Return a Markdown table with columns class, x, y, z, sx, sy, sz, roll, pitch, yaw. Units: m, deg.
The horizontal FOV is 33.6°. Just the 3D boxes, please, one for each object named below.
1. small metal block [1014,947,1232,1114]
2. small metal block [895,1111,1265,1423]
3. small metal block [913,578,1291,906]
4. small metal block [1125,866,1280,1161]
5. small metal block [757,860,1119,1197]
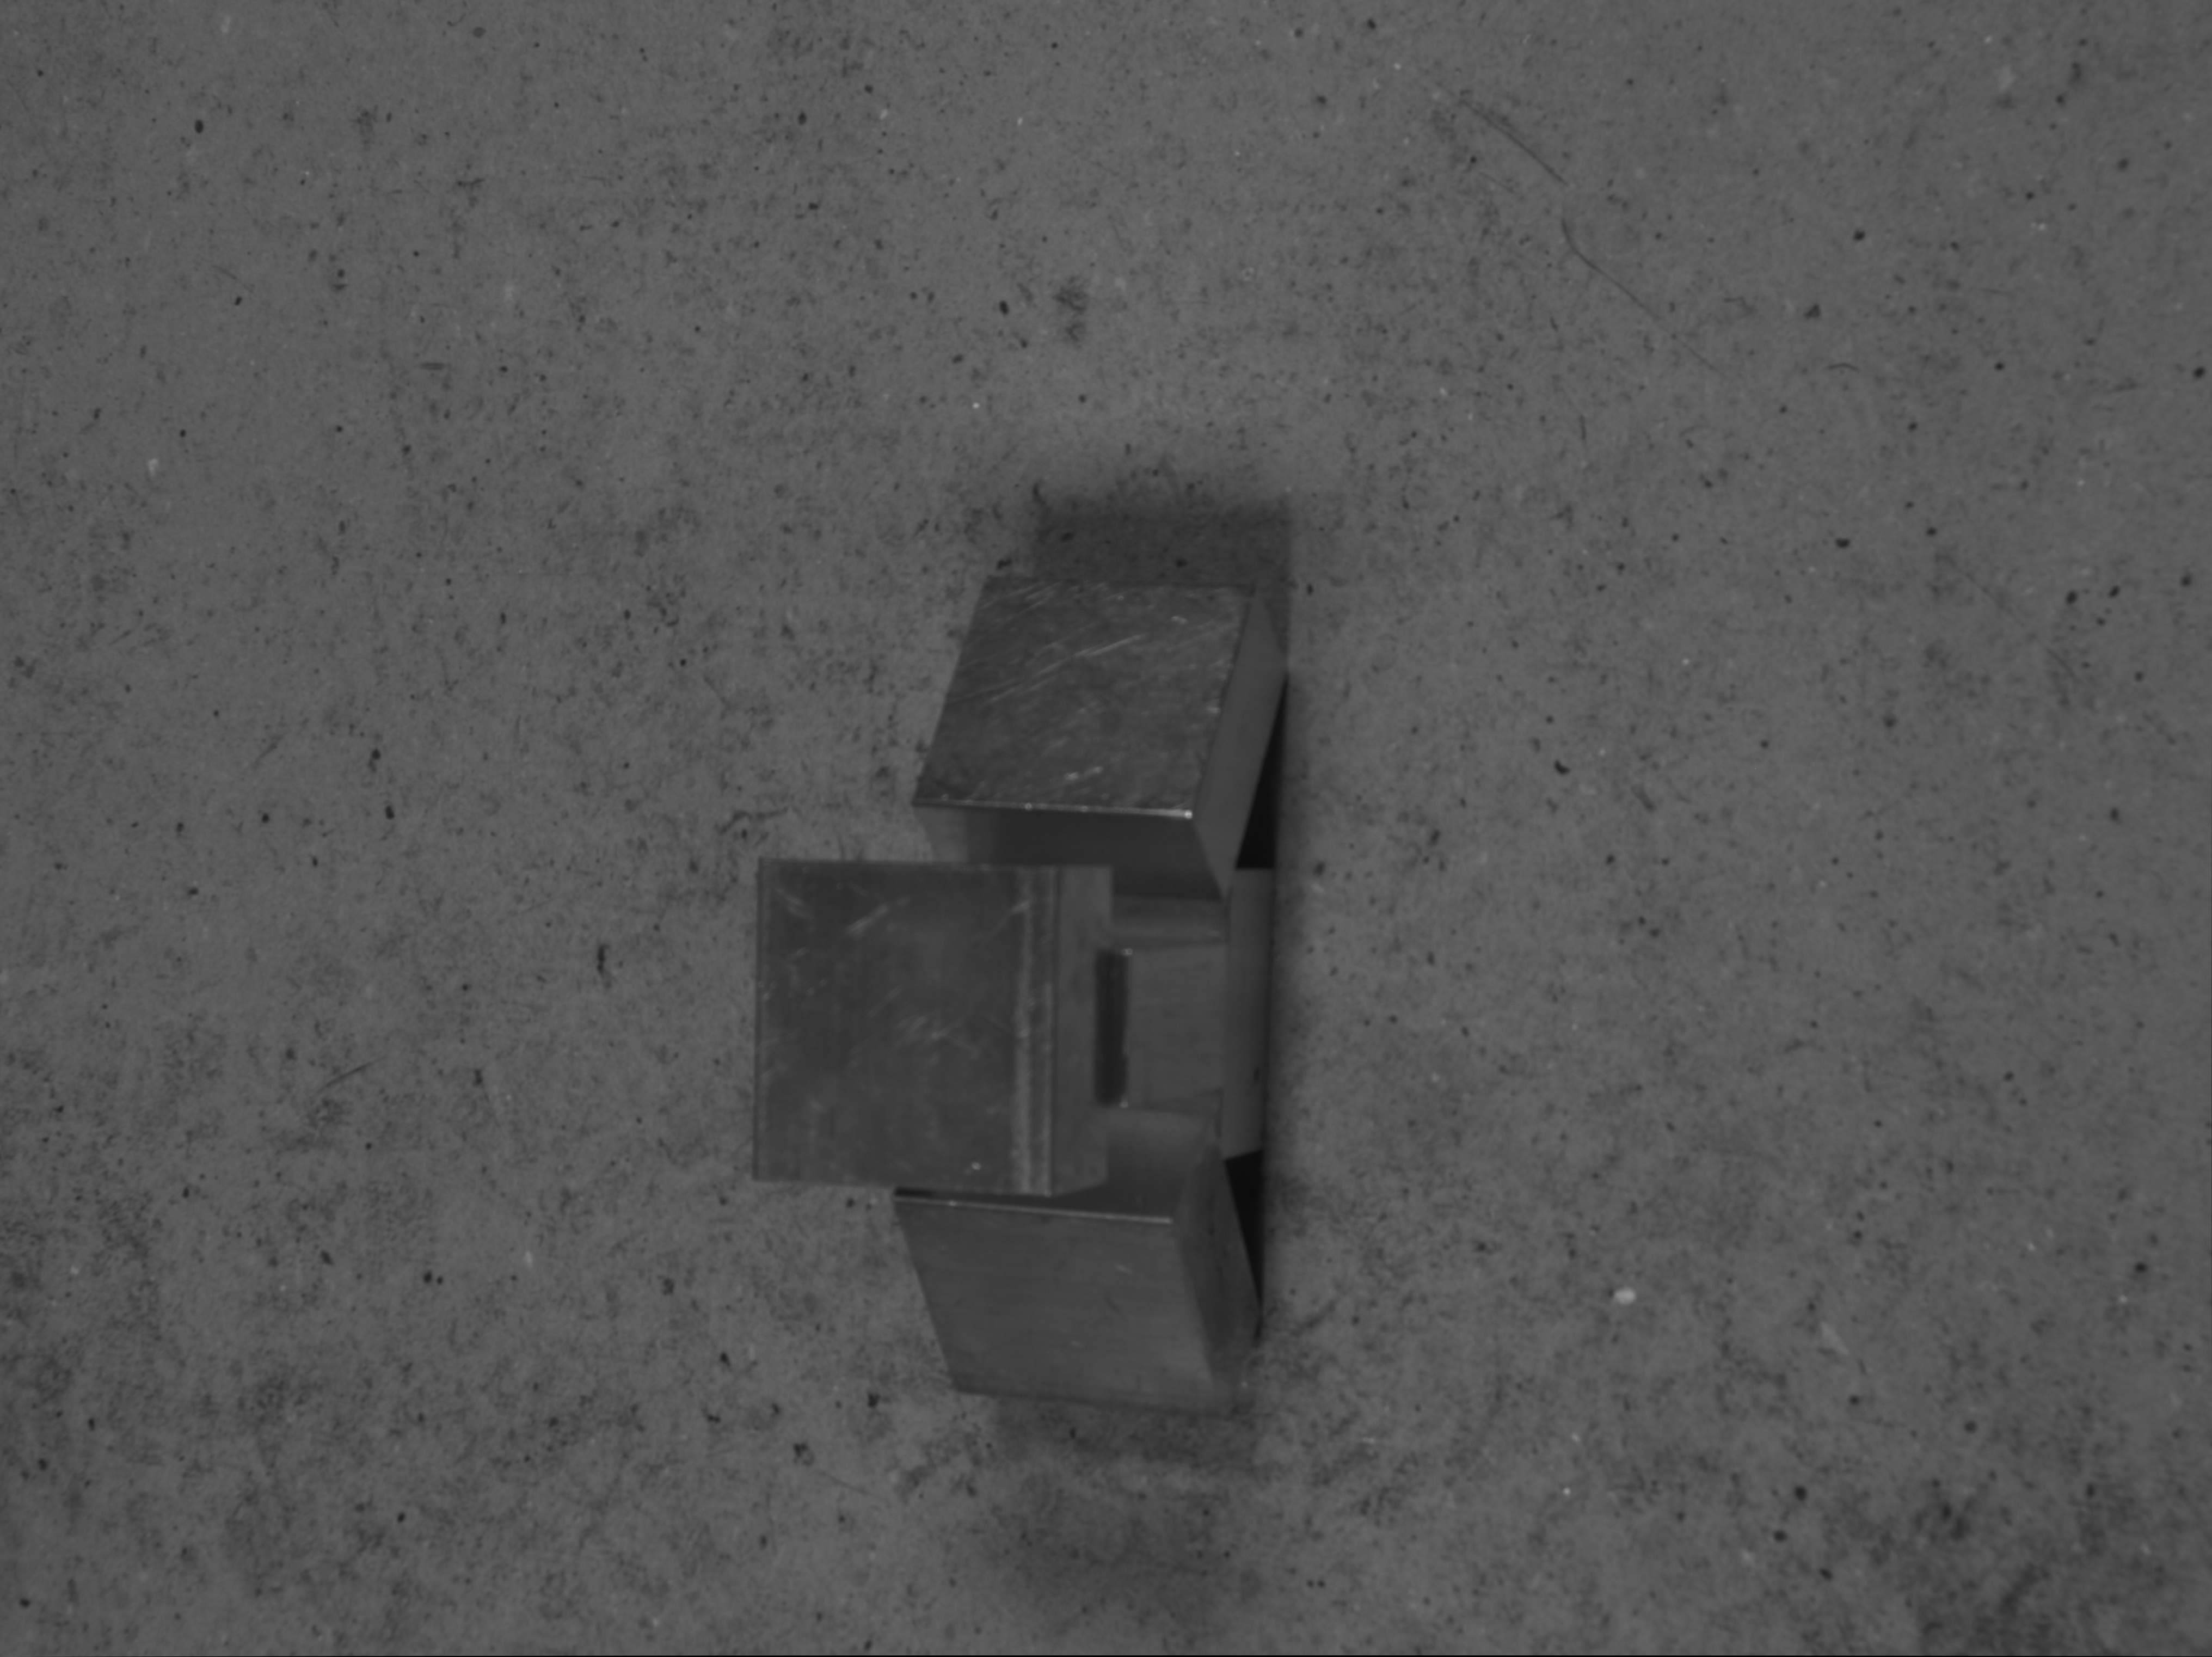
| class | x | y | z | sx | sy | sz | roll | pitch | yaw |
| --- | --- | --- | --- | --- | --- | --- | --- | --- | --- |
| small metal block | -0.011 | 0.032 | 0.608 | 0.050 | 0.050 | 0.025 | 3 | 91 | 20 |
| small metal block | -0.004 | 0.074 | 0.632 | 0.050 | 0.025 | 0.050 | 2 | 131 | 20 |
| small metal block | 0.000 | -0.015 | 0.632 | 0.050 | 0.025 | 0.050 | 3 | 55 | 20 |
| small metal block | 0.002 | 0.031 | 0.644 | 0.050 | 0.025 | 0.050 | 3 | 91 | 20 |
| small metal block | -0.026 | 0.030 | 0.574 | 0.050 | 0.025 | 0.050 | 1 | 90 | 20 |
